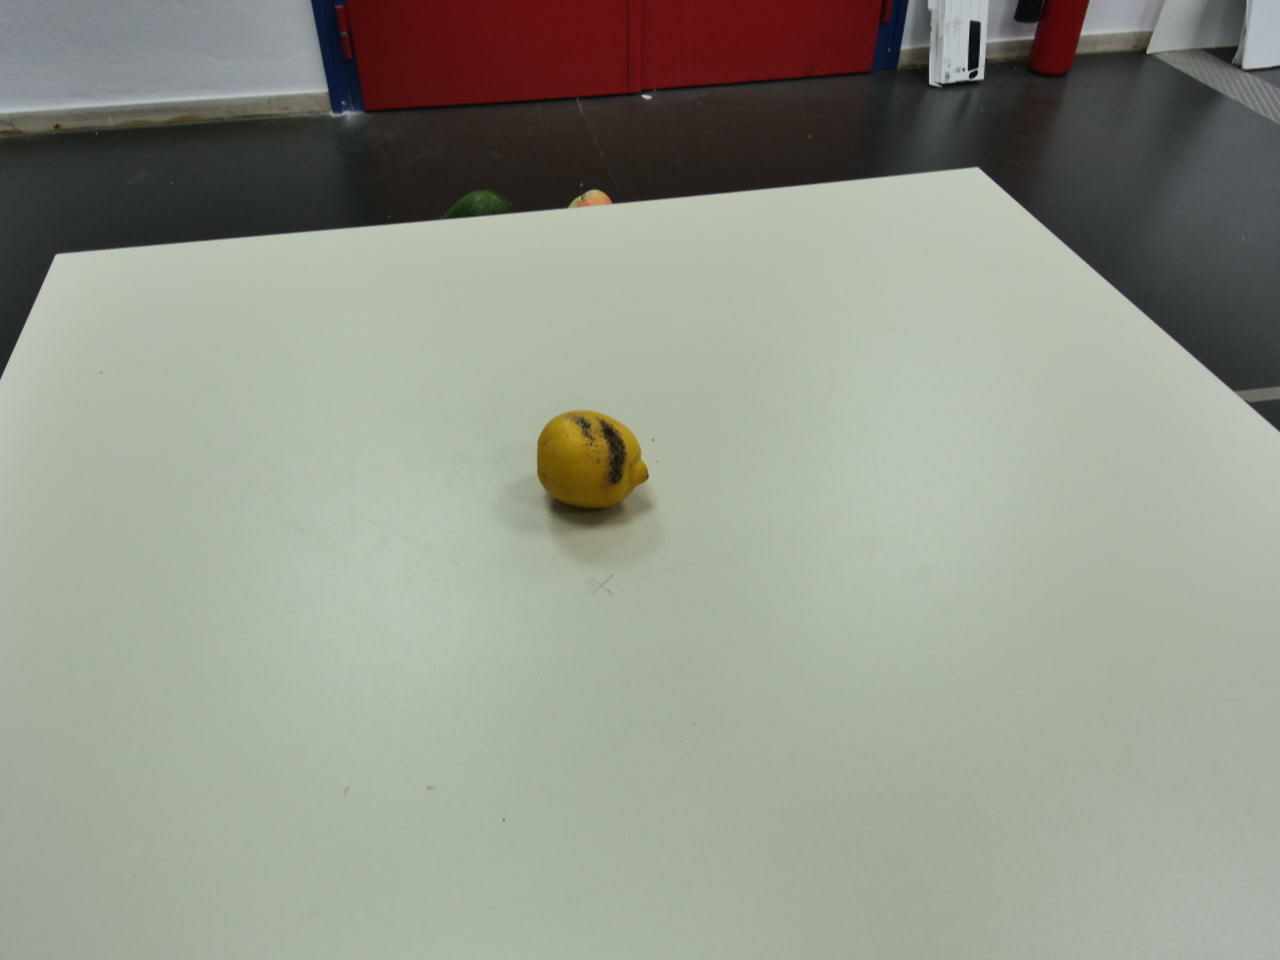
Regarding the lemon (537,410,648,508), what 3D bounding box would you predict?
[{"bbox_3d":[-0.030,-0.012,0.581,0.061,0.056,0.058,-14,41,-16],"label":"lemon"}]
